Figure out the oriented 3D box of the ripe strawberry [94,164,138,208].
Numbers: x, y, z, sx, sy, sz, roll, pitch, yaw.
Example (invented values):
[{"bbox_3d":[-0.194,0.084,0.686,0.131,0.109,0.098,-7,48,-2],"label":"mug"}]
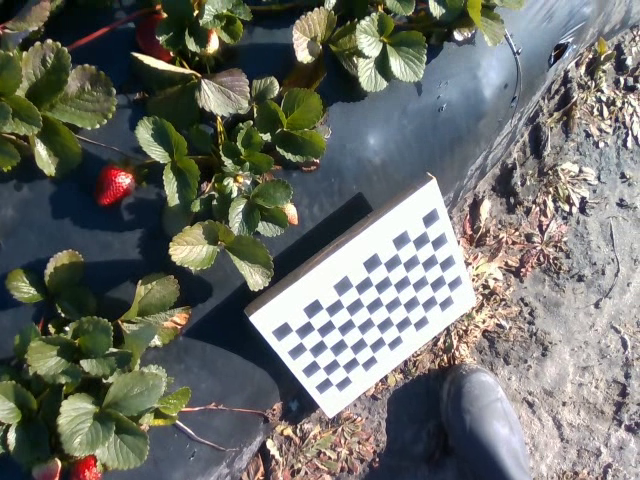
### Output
[{"bbox_3d":[-0.214,-0.057,0.686,0.044,0.056,0.042,20,-22,37],"label":"ripe strawberry"}]
